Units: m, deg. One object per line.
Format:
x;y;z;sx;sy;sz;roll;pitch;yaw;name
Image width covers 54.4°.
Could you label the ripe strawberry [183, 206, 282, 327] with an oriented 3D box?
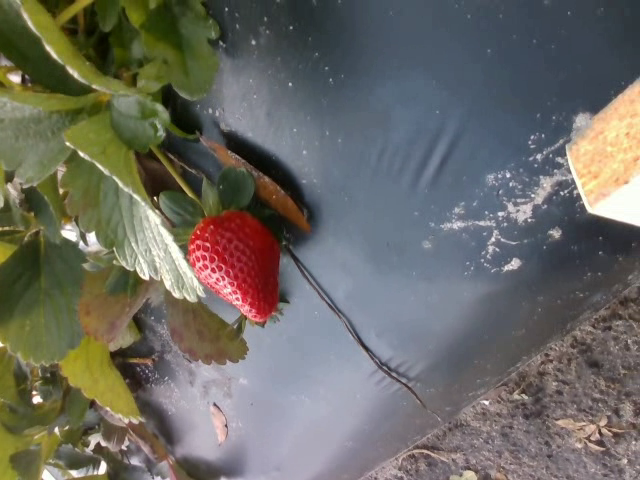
-0.035;0.016;0.281;0.049;0.053;0.050;-12;-29;-30;ripe strawberry
